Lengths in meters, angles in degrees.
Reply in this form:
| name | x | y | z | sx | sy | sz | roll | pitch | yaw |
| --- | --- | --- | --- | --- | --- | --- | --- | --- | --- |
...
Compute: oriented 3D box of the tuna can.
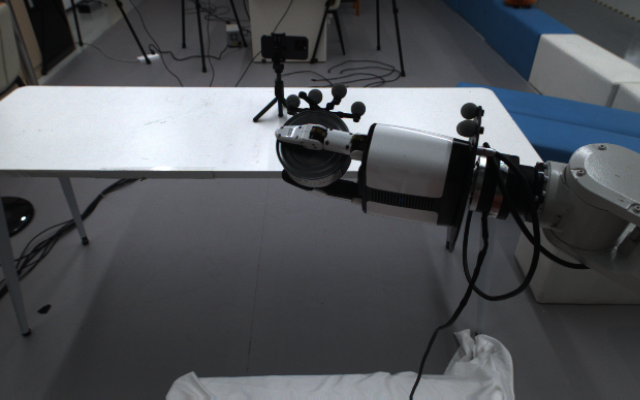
| name | x | y | z | sx | sy | sz | roll | pitch | yaw |
| --- | --- | --- | --- | --- | --- | --- | --- | --- | --- |
| tuna can | -0.005 | -0.061 | 0.558 | 0.085 | 0.034 | 0.085 | -3 | 69 | 7 |
